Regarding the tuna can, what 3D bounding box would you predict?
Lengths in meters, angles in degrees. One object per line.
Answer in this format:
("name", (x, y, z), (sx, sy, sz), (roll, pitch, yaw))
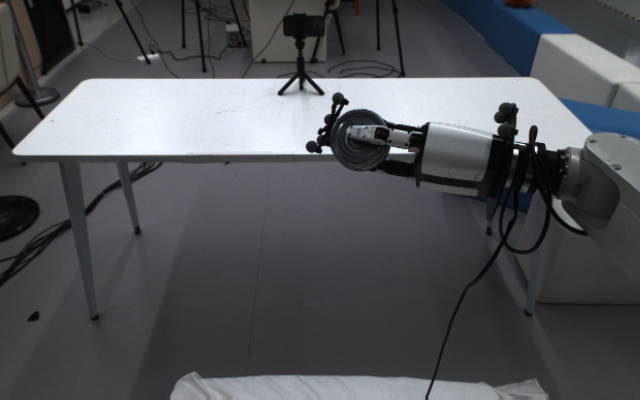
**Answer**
("tuna can", (0.059, -0.087, 0.692), (0.085, 0.085, 0.034), (9, -5, 10))
